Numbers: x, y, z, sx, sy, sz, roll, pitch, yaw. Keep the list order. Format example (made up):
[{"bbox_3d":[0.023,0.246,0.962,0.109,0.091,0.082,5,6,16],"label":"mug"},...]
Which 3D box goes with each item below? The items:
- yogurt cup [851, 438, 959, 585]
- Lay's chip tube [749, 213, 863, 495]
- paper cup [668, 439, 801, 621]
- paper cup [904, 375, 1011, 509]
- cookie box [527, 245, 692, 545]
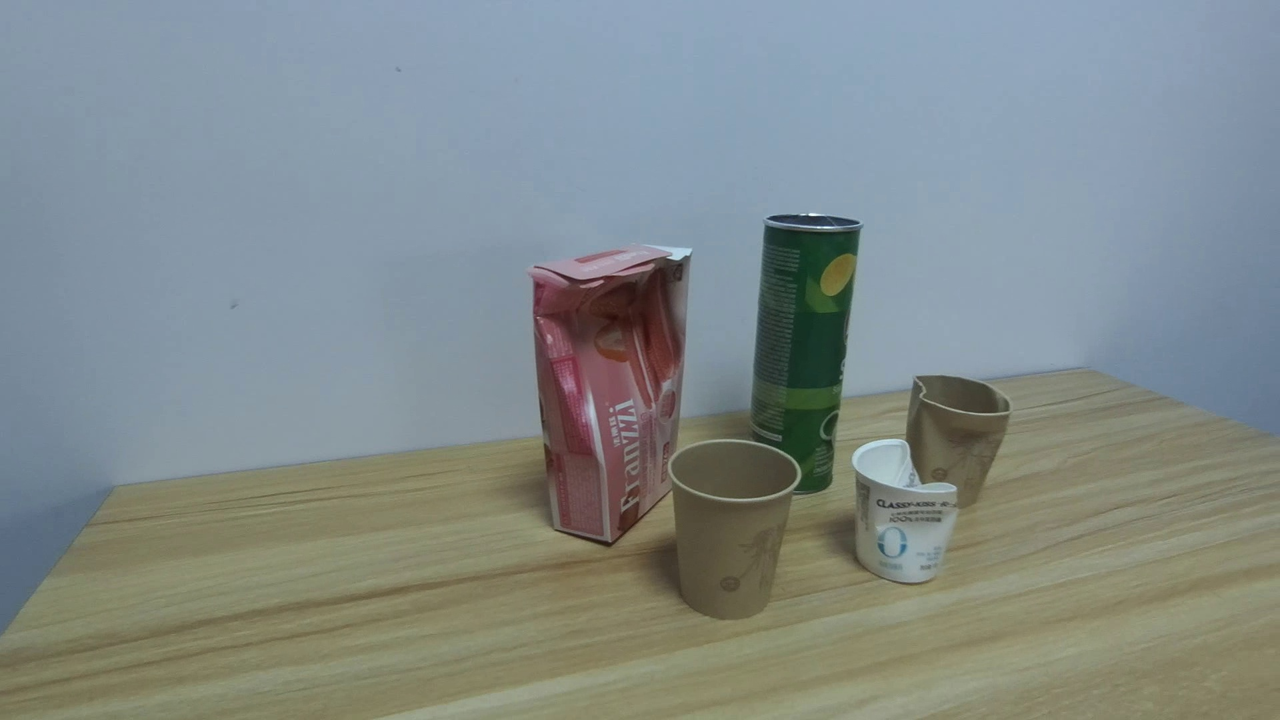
[{"bbox_3d":[0.162,0.096,0.441,0.067,0.070,0.067,1,21,0],"label":"yogurt cup"},{"bbox_3d":[0.120,-0.005,0.528,0.071,0.202,0.071,1,19,0],"label":"Lay's chip tube"},{"bbox_3d":[0.052,0.099,0.409,0.075,0.082,0.075,1,18,0],"label":"paper cup"},{"bbox_3d":[0.232,0.061,0.528,0.066,0.084,0.071,5,19,12],"label":"paper cup"},{"bbox_3d":[-0.016,0.022,0.475,0.055,0.184,0.119,14,24,33],"label":"cookie box"}]
